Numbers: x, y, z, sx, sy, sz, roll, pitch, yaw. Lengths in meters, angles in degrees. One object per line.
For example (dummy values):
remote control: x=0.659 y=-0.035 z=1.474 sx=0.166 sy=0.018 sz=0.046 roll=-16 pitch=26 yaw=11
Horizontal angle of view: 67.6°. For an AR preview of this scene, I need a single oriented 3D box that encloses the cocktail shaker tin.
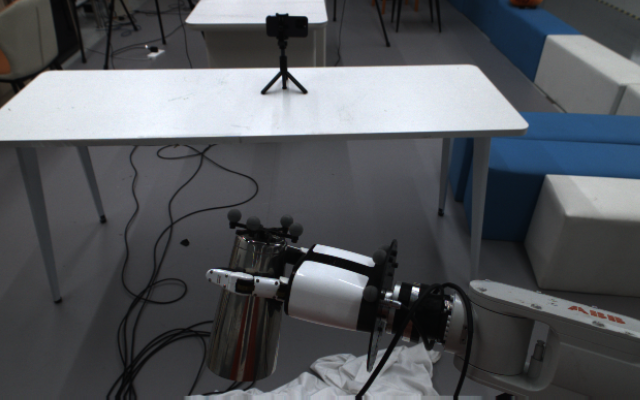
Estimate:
cocktail shaker tin: x=-0.084 y=0.126 z=0.617 sx=0.093 sy=0.170 sz=0.093 roll=10 pitch=10 yaw=-2
